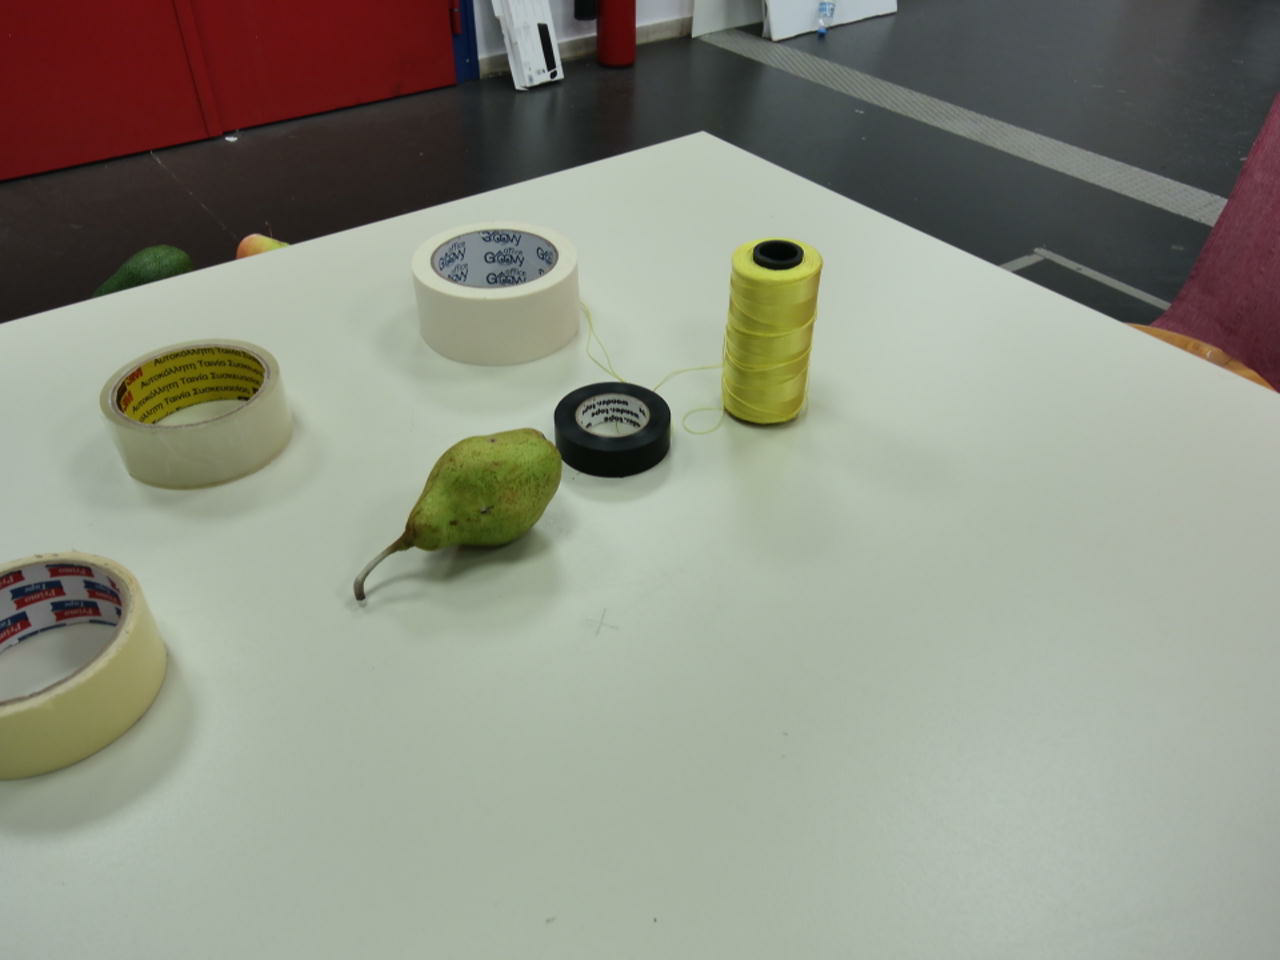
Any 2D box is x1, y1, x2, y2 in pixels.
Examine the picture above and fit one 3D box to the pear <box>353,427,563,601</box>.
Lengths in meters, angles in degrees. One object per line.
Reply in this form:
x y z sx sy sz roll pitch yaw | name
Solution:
-0.091 0.009 0.486 0.111 0.056 0.056 -14 40 -18 | pear
